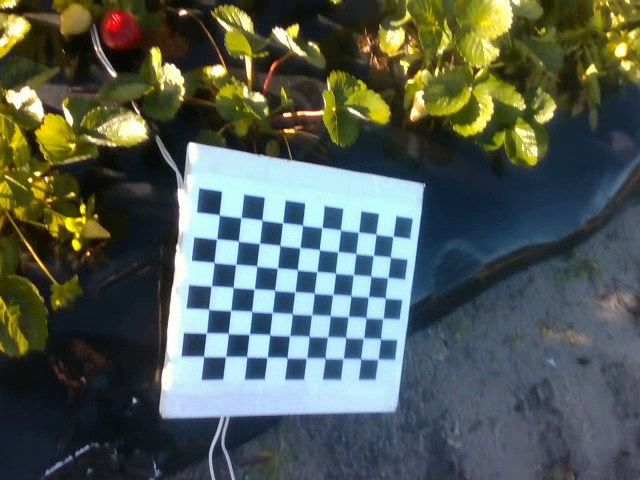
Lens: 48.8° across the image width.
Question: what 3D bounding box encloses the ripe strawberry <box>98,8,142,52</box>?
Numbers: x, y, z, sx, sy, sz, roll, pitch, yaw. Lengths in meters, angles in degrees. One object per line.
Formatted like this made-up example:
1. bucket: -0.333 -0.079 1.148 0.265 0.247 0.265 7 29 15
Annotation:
1. ripe strawberry: -0.253 -0.261 0.866 0.040 0.080 0.063 -33 -57 30
